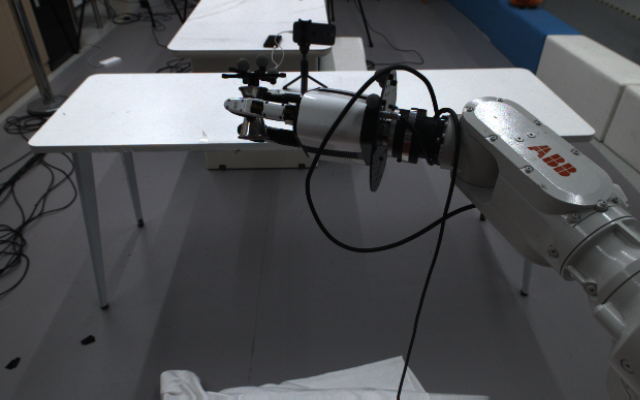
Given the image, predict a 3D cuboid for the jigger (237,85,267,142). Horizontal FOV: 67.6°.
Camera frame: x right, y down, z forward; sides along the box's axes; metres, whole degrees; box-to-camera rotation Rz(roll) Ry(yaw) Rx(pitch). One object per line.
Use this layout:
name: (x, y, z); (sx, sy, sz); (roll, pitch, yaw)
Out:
jigger: (-0.094, -0.119, 0.666); (0.043, 0.071, 0.043); (-1, 2, 0)
